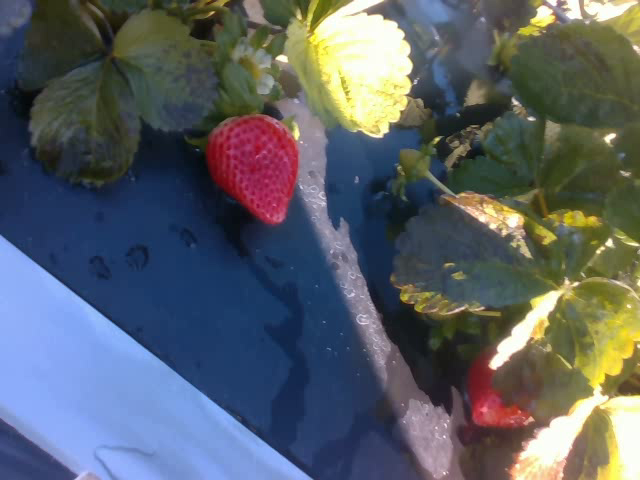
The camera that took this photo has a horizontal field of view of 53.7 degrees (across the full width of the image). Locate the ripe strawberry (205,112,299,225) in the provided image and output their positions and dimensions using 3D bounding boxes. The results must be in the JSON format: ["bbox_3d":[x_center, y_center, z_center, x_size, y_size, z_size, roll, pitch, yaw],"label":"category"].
[{"bbox_3d":[-0.025,-0.029,0.263,0.045,0.058,0.042,-14,-17,3],"label":"ripe strawberry"}]
